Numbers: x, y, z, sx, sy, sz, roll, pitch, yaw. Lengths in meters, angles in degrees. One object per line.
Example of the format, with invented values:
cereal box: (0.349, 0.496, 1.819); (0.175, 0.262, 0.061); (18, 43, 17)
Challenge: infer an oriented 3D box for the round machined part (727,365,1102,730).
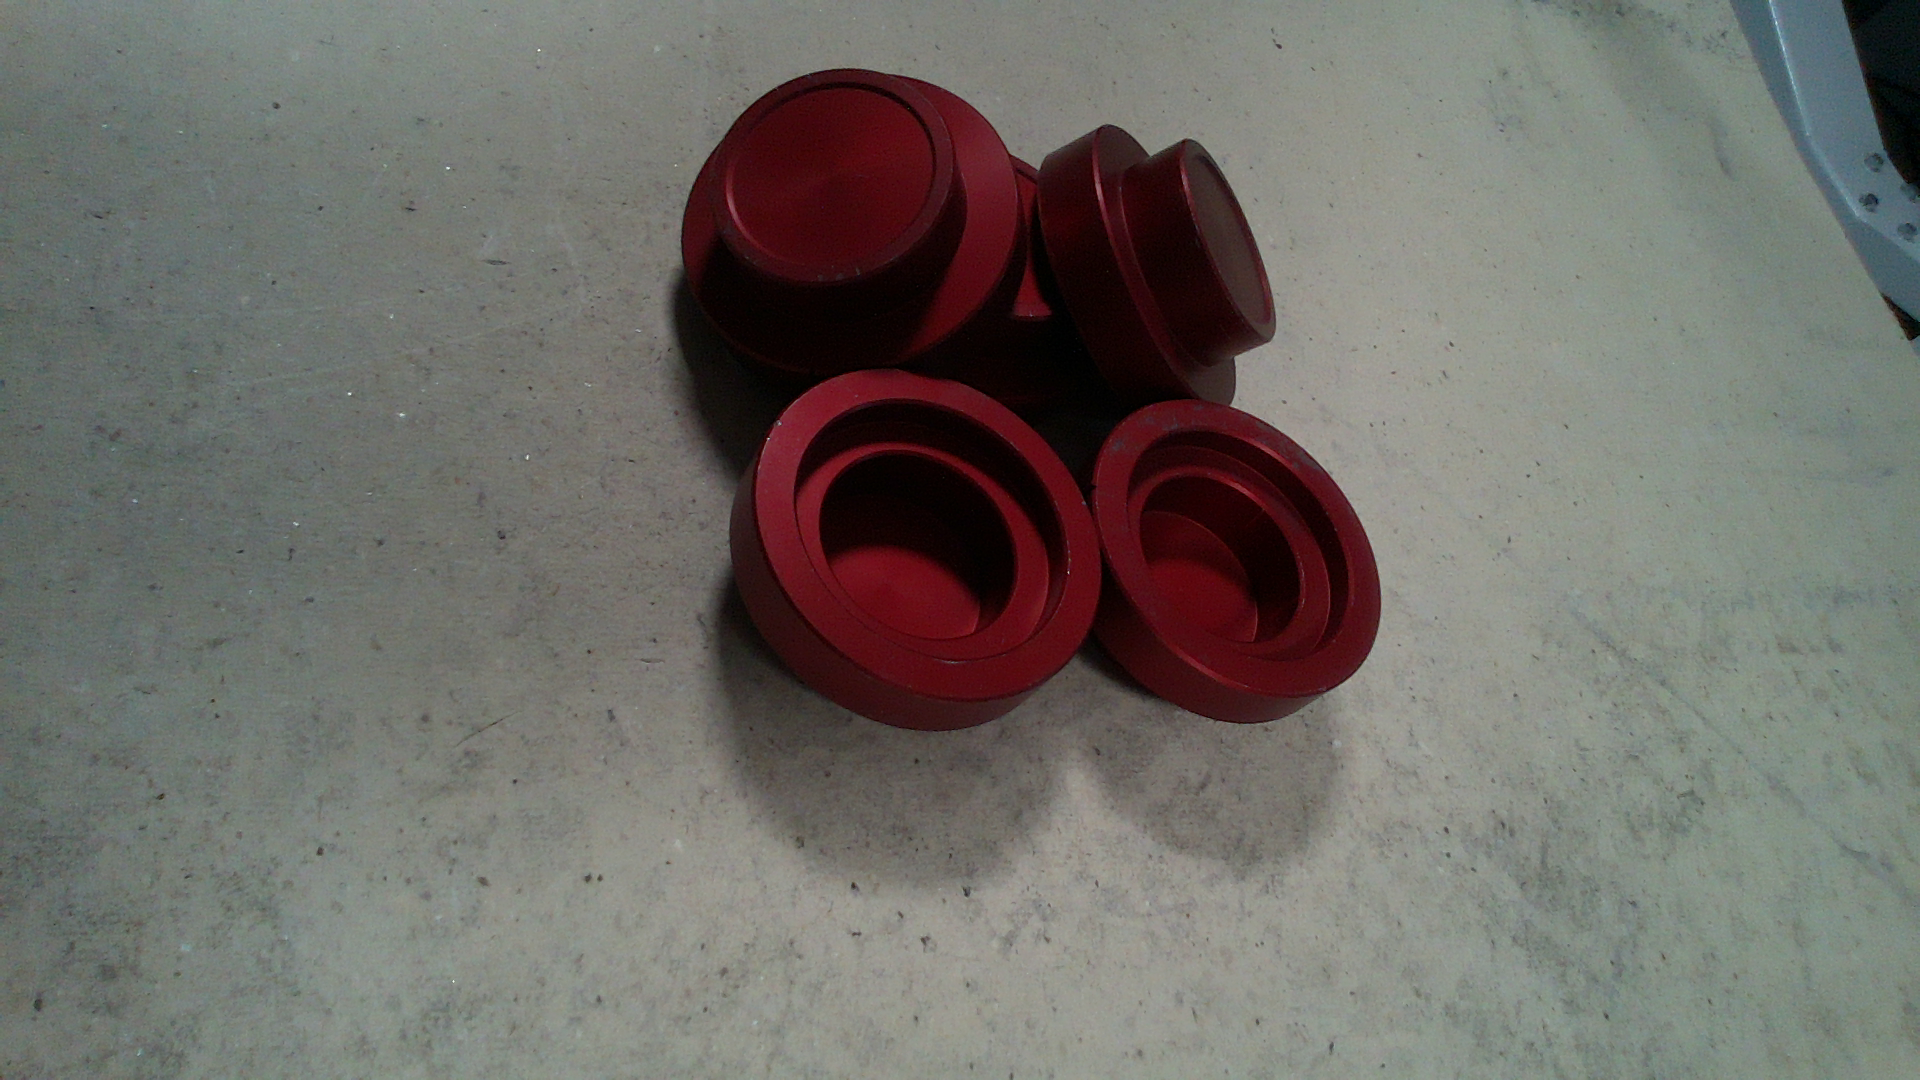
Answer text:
round machined part: (-0.015, 0.005, 0.368); (0.098, 0.042, 0.098); (14, 56, -21)

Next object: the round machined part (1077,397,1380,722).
round machined part: (0.073, 0.009, 0.412); (0.098, 0.042, 0.098); (14, 56, -21)

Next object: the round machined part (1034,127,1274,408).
round machined part: (0.067, -0.087, 0.440); (0.098, 0.042, 0.098); (41, 38, -42)

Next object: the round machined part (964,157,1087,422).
round machined part: (0.003, -0.086, 0.432); (0.098, 0.042, 0.098); (14, 56, -21)

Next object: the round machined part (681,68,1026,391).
round machined part: (-0.031, -0.092, 0.388); (0.098, 0.042, 0.098); (-2, 69, 7)
